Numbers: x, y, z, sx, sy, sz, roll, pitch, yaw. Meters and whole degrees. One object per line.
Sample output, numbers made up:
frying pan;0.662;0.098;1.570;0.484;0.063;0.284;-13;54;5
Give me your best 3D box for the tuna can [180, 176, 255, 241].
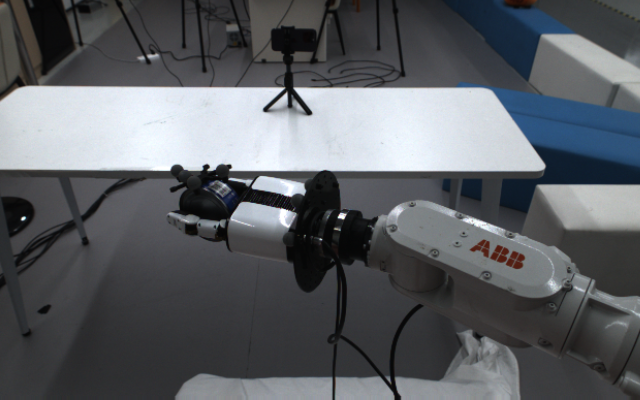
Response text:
tuna can;-0.147;0.013;0.667;0.085;0.085;0.034;17;35;20
